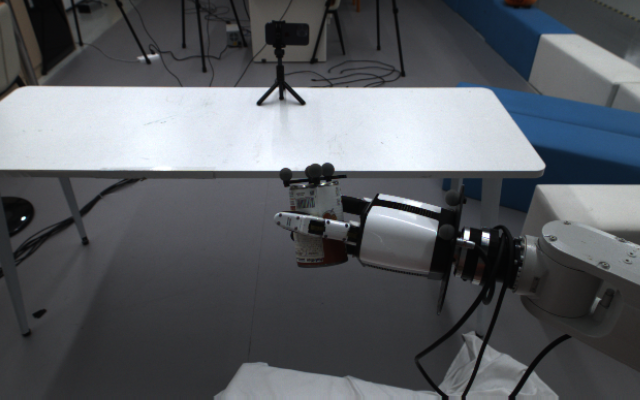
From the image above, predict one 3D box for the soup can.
[{"bbox_3d":[-0.001,0.030,0.615,0.067,0.101,0.067,-7,3,0],"label":"soup can"}]
